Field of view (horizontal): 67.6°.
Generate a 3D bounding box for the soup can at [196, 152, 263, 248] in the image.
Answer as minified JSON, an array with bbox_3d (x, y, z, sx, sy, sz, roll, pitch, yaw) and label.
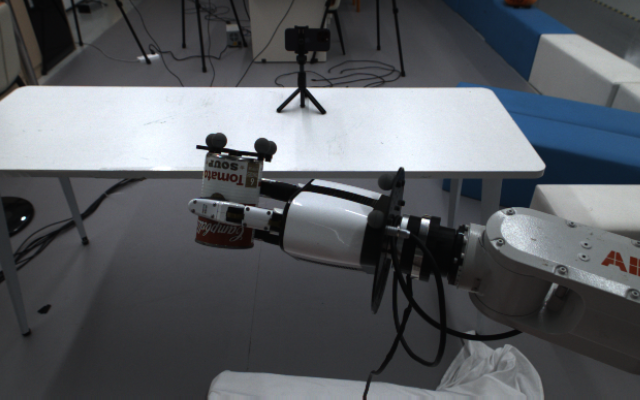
[{"bbox_3d":[-0.102,0.000,0.558,0.067,0.101,0.067,7,4,0],"label":"soup can"}]
